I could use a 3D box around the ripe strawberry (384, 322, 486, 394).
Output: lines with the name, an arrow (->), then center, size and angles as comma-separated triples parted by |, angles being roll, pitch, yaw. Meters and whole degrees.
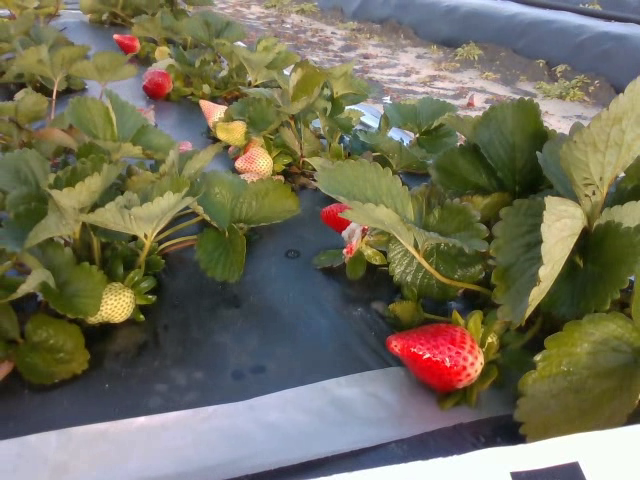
ripe strawberry -> 0.050, 0.050, 0.273 | 0.055, 0.036, 0.050 | 0, 33, -9
